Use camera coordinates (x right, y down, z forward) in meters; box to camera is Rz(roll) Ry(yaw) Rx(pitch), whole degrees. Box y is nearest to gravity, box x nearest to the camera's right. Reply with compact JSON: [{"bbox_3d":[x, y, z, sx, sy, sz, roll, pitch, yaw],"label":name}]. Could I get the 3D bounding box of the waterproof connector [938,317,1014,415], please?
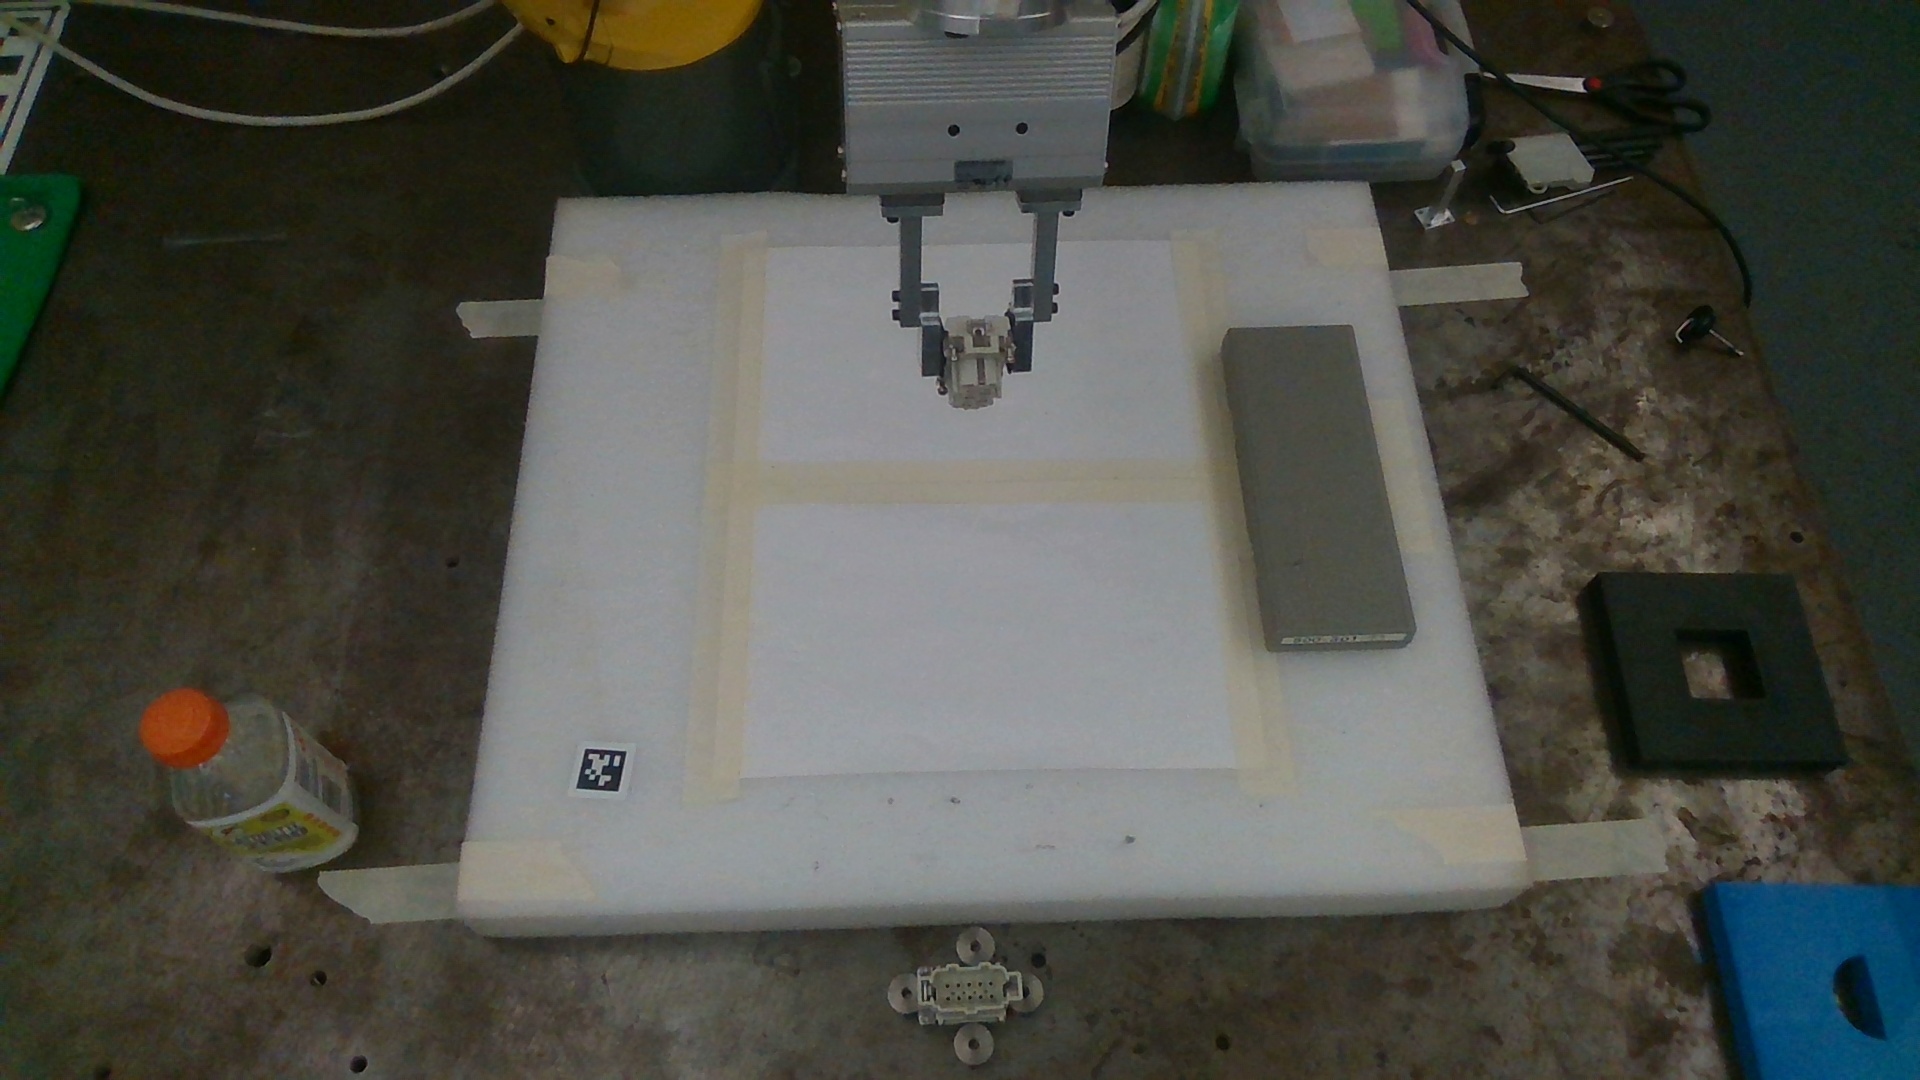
[{"bbox_3d":[0.007,-0.088,0.707,0.037,0.069,0.038,-2,82,-2],"label":"waterproof connector"}]
